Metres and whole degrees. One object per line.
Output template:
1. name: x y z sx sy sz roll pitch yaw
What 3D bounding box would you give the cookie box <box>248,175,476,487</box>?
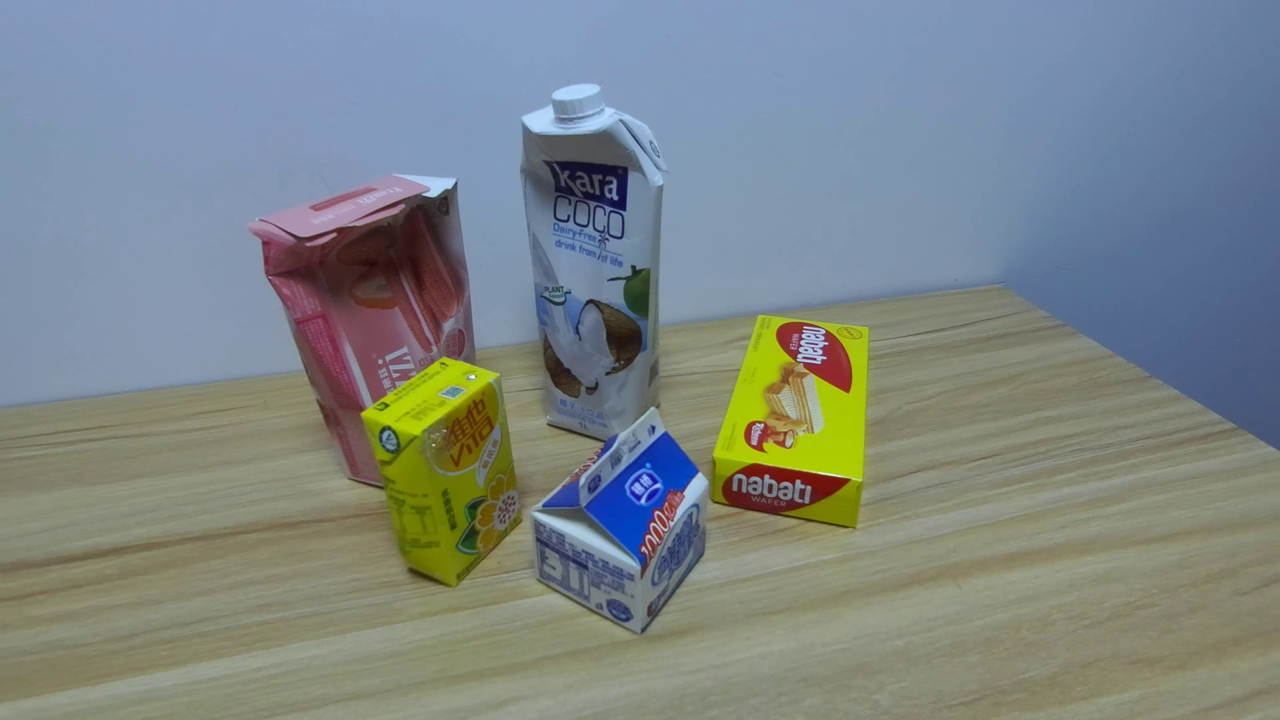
1. cookie box: -0.159 -0.013 0.452 0.055 0.184 0.119 16 35 25

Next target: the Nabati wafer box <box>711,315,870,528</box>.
1. Nabati wafer box: 0.116 0.032 0.511 0.092 0.042 0.203 8 32 14

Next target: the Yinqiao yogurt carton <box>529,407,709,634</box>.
1. Yinqiao yogurt carton: -0.010 0.080 0.385 0.073 0.092 0.076 18 36 29

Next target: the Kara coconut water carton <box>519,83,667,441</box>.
1. Kara coconut water carton: -0.030 -0.059 0.474 0.115 0.239 0.069 14 35 24

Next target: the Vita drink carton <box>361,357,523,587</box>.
1. Vita drink carton: -0.109 0.065 0.396 0.043 0.109 0.076 15 34 25
